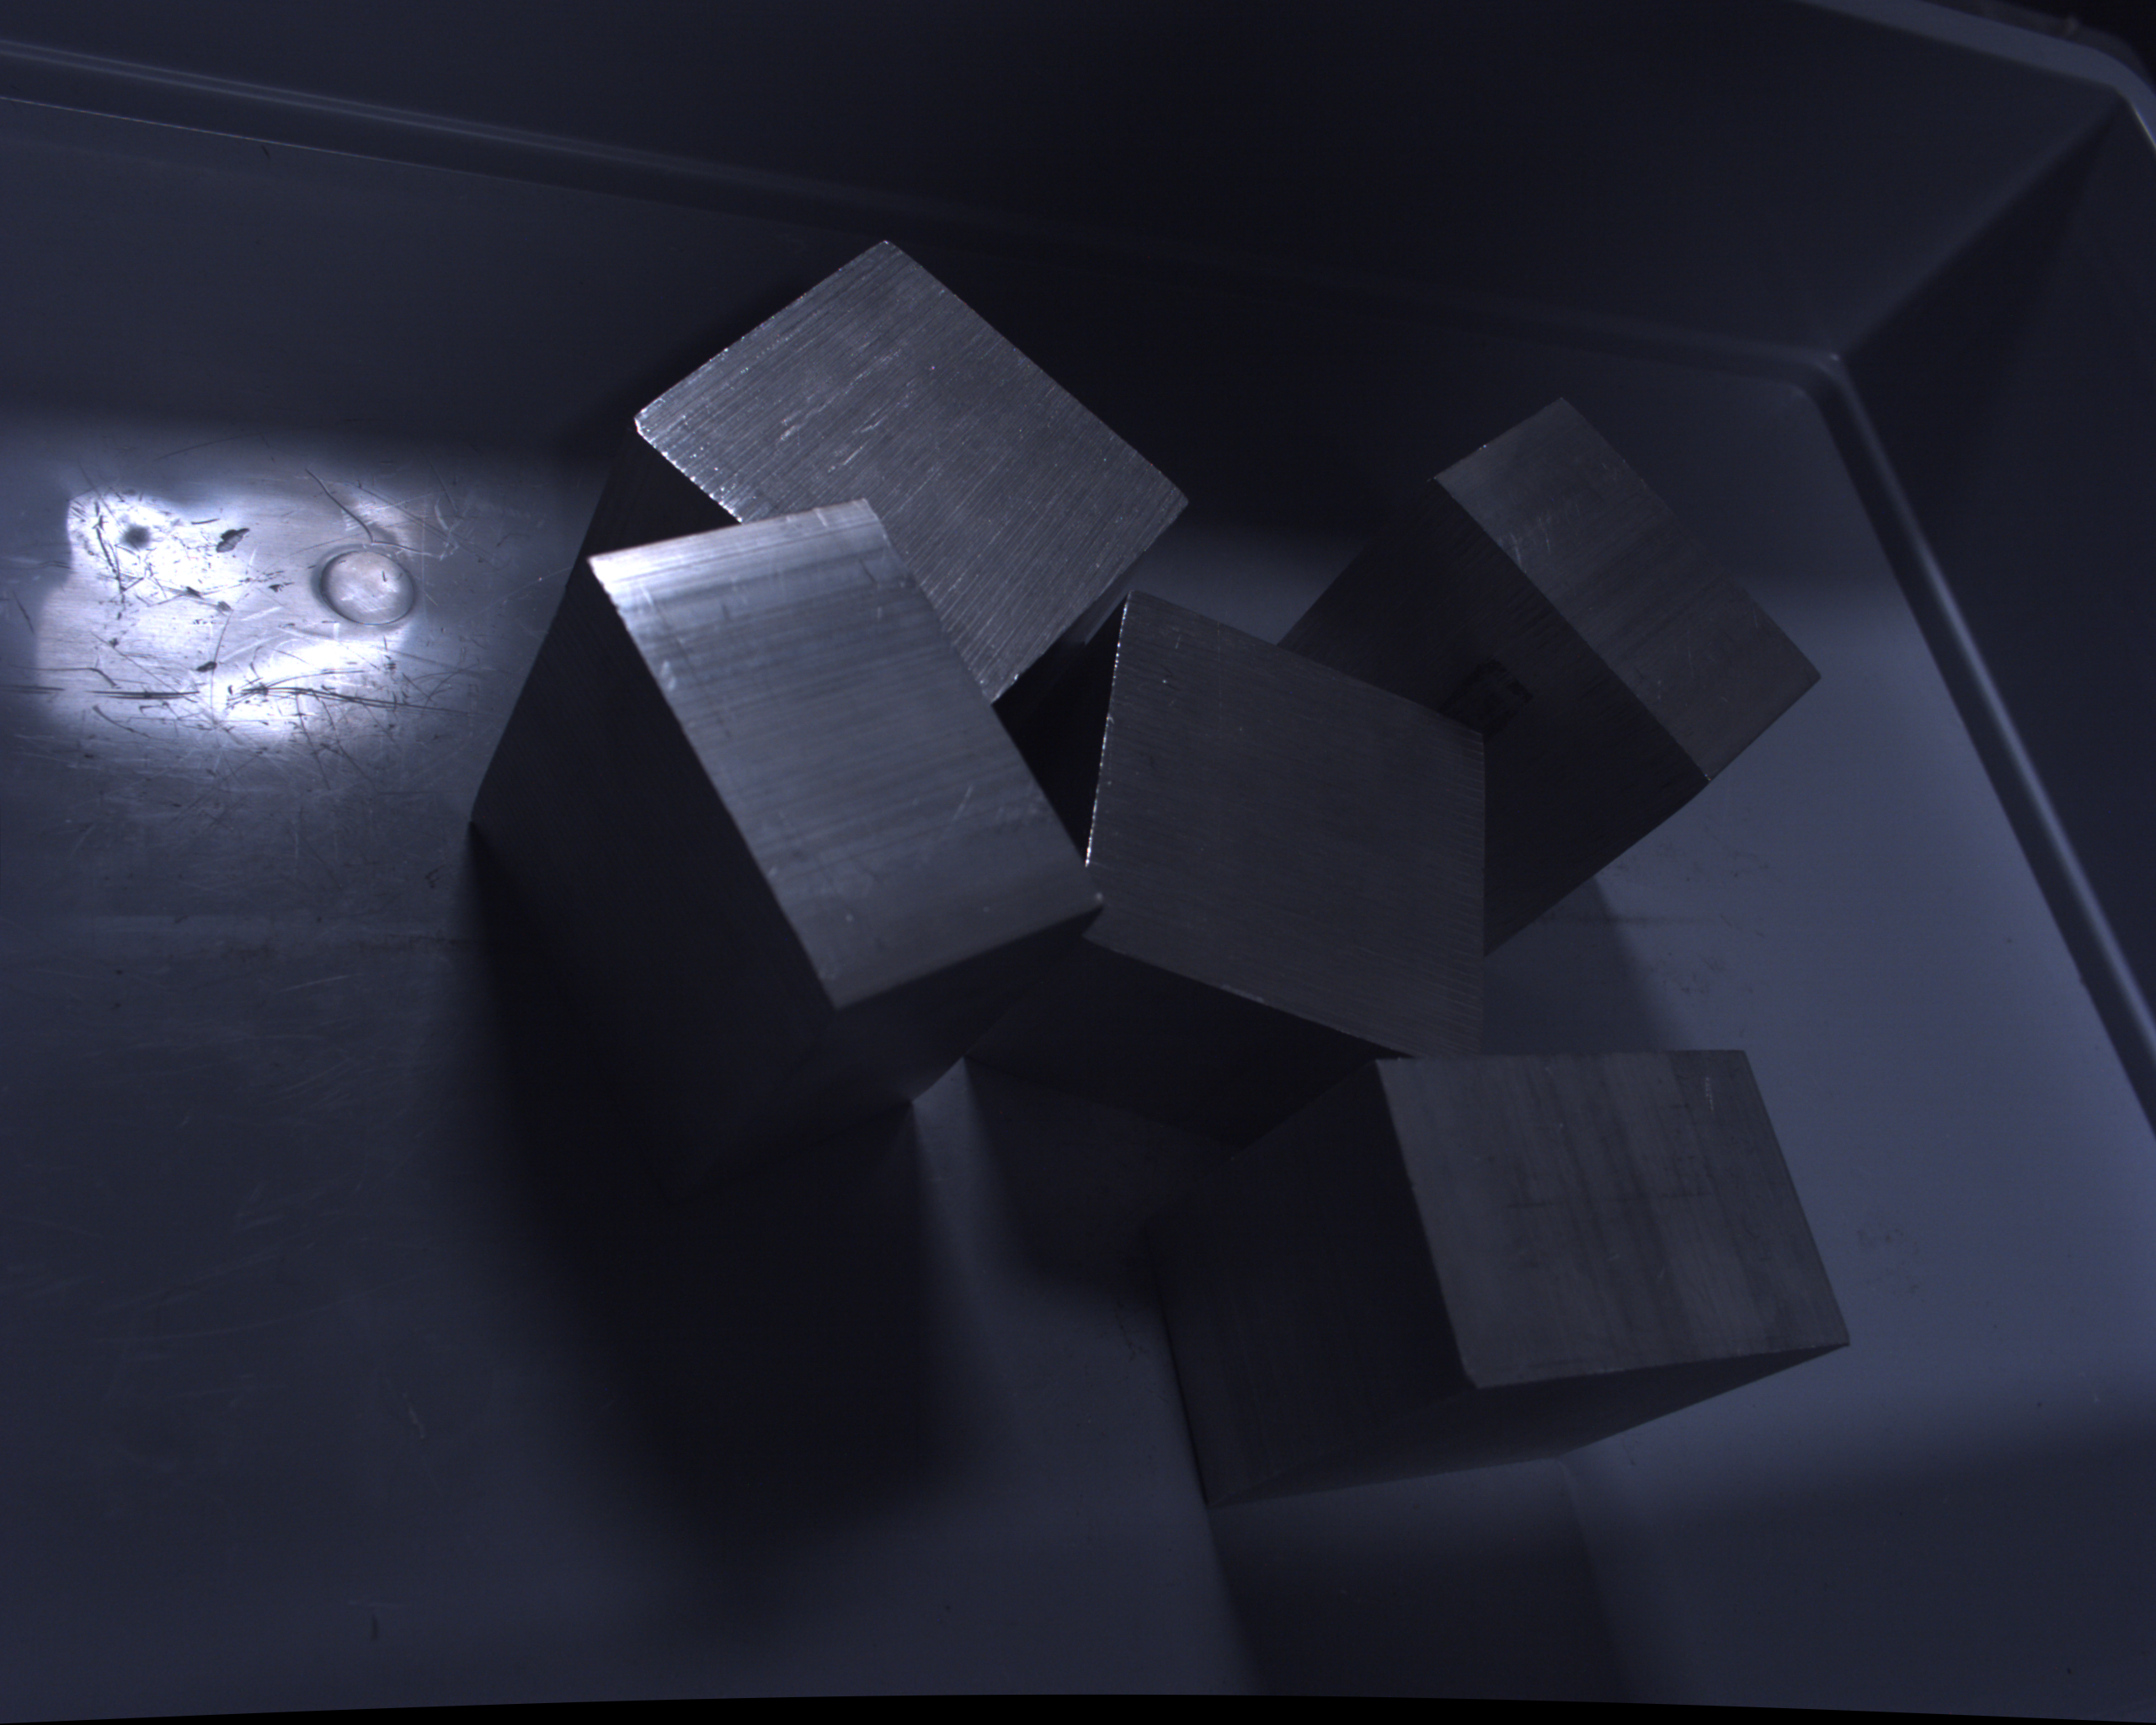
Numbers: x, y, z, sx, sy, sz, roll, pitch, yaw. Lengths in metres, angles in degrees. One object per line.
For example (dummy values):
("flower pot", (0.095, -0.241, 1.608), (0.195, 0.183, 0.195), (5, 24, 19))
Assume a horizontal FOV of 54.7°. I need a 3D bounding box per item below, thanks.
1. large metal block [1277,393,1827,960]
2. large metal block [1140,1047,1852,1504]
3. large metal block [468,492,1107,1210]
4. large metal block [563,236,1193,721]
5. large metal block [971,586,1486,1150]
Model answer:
("large metal block", (0.093, -0.037, 0.443), (0.080, 0.080, 0.050), (49, 51, 6))
("large metal block", (0.069, 0.072, 0.364), (0.081, 0.080, 0.050), (1, 62, -28))
("large metal block", (-0.052, -0.001, 0.342), (0.050, 0.080, 0.080), (-21, 73, -36))
("large metal block", (-0.038, -0.062, 0.406), (0.080, 0.050, 0.080), (41, 51, -1))
("large metal block", (0.030, 0.005, 0.402), (0.080, 0.050, 0.080), (21, 54, -17))
